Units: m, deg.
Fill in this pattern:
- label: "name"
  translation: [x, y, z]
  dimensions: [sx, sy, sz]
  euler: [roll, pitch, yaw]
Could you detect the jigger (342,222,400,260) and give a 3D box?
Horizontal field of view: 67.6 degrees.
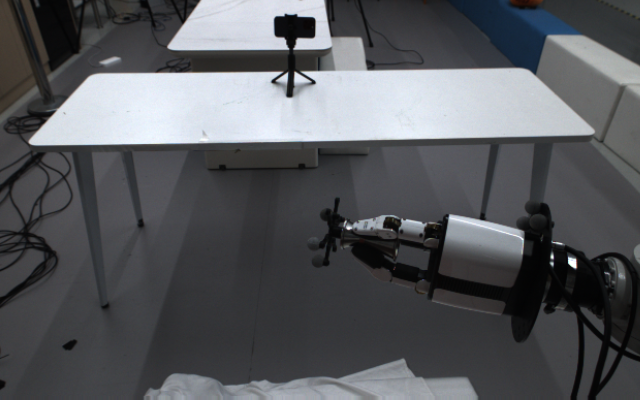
- label: "jigger"
  translation: [0.070, 0.043, 0.596]
  dimensions: [0.071, 0.043, 0.043]
  euler: [9, 35, 16]
